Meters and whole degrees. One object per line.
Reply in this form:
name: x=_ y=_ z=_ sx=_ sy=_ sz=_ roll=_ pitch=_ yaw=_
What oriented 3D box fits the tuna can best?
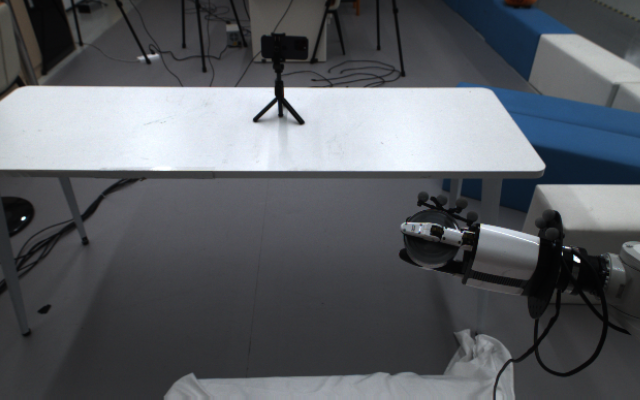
tuna can: x=0.171 y=0.056 z=0.734 sx=0.085 sy=0.034 sz=0.085 roll=-4 pitch=66 yaw=10
